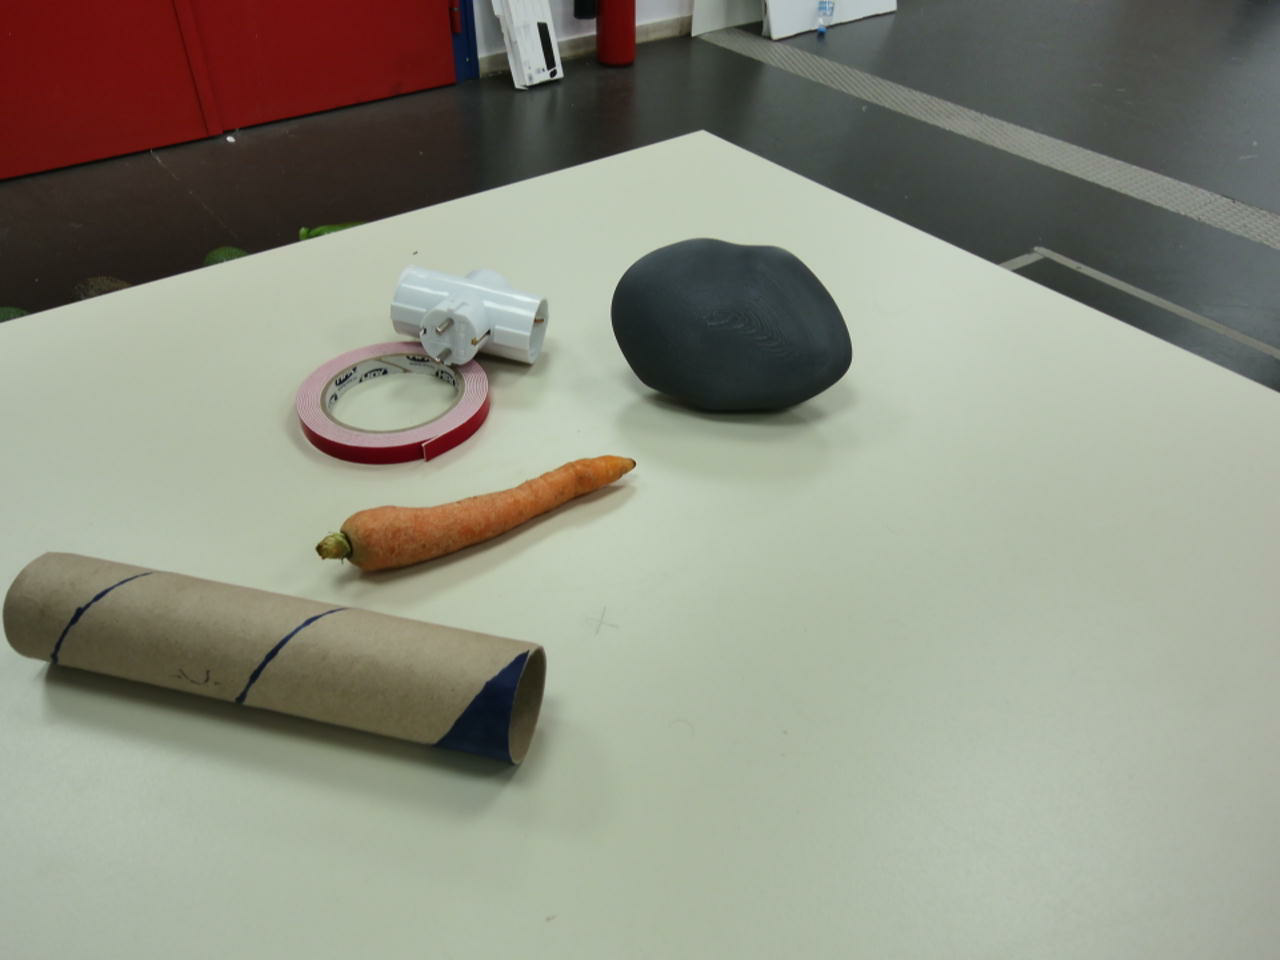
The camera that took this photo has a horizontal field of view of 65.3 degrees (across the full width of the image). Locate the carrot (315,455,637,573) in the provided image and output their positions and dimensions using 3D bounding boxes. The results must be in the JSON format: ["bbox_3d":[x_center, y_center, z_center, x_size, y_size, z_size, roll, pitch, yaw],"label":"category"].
[{"bbox_3d":[-0.075,0.012,0.499,0.173,0.032,0.030,-18,42,-23],"label":"carrot"}]
